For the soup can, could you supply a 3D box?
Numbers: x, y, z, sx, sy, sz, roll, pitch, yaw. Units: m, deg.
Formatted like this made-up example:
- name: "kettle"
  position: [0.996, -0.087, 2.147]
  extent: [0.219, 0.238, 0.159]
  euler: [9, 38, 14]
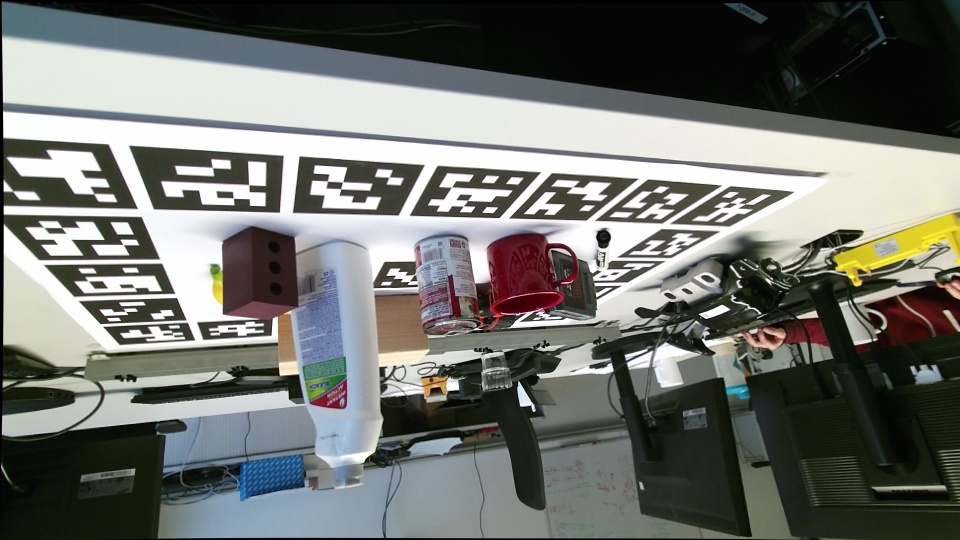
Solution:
- name: "soup can"
  position: [-0.033, 0.022, 0.623]
  extent: [0.068, 0.101, 0.068]
  euler: [-6, 162, -2]

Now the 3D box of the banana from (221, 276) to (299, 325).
- name: "banana"
  position: [-0.234, 0.044, 0.690]
  extent: [0.198, 0.038, 0.074]
  euler: [9, 139, -35]

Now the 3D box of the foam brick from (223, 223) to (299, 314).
- name: "foam brick"
  position: [-0.221, 0.000, 0.540]
  extent: [0.051, 0.077, 0.053]
  euler: [-20, 159, 30]

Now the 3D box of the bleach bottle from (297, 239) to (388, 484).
- name: "bleach bottle"
  position: [-0.149, 0.098, 0.579]
  extent: [0.103, 0.249, 0.068]
  euler: [-23, 156, 34]

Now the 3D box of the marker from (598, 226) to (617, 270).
- name: "marker"
  position: [0.170, -0.029, 0.719]
  extent: [0.020, 0.019, 0.121]
  euler: [-14, 158, 5]

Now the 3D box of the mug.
- name: "mug"
  position: [0.067, 0.005, 0.666]
  extent: [0.117, 0.081, 0.093]
  euler: [-21, 155, 20]

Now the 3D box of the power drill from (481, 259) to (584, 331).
- name: "power drill"
  position: [0.057, 0.045, 0.815]
  extent: [0.187, 0.057, 0.185]
  euler: [-23, 152, 35]

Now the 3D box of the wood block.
- name: "wood block"
  position: [-0.186, 0.097, 0.789]
  extent: [0.207, 0.090, 0.090]
  euler: [-1, 157, -21]
